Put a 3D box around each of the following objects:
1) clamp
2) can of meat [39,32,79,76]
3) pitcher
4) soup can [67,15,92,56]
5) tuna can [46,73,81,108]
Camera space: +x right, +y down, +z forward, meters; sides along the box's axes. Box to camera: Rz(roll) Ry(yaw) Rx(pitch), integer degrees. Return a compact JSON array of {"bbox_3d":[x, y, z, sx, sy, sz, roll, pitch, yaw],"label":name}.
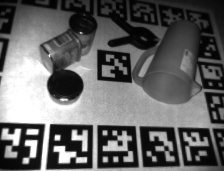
[{"bbox_3d":[0.050,-0.161,0.691,0.166,0.036,0.121,8,62,-16],"label":"clamp"},{"bbox_3d":[-0.136,-0.076,0.552,0.084,0.101,0.057,-33,80,-21],"label":"can of meat"},{"bbox_3d":[0.175,-0.074,0.622,0.187,0.134,0.243,14,55,15],"label":"pitcher"},{"bbox_3d":[-0.092,-0.134,0.594,0.068,0.102,0.067,4,68,-10],"label":"soup can"},{"bbox_3d":[-0.125,0.014,0.559,0.086,0.033,0.085,6,68,-13],"label":"tuna can"}]
